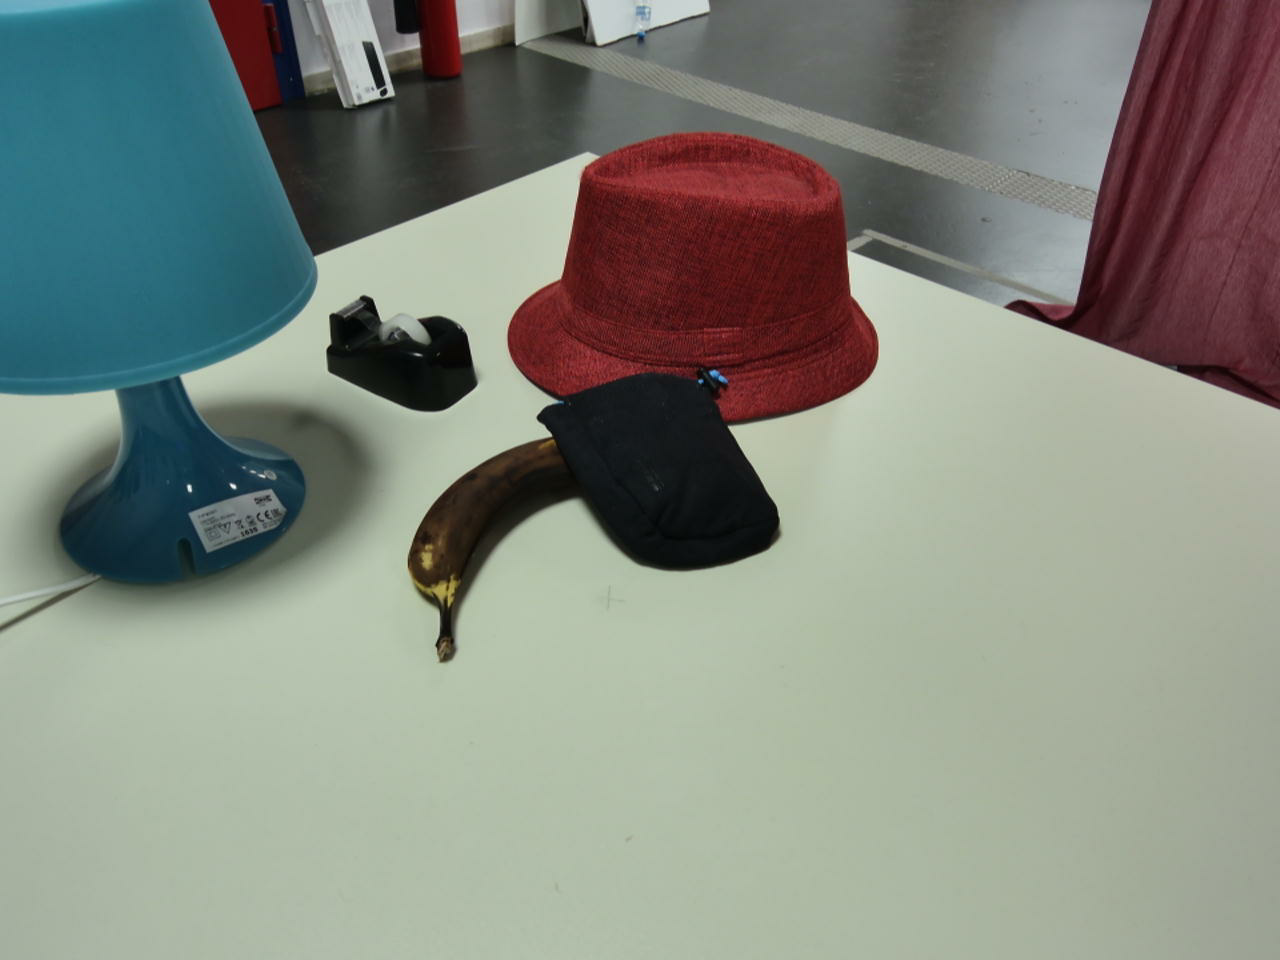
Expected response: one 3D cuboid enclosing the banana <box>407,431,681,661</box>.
[{"bbox_3d":[-0.066,0.016,0.563,0.091,0.034,0.188,30,46,32],"label":"banana"}]
